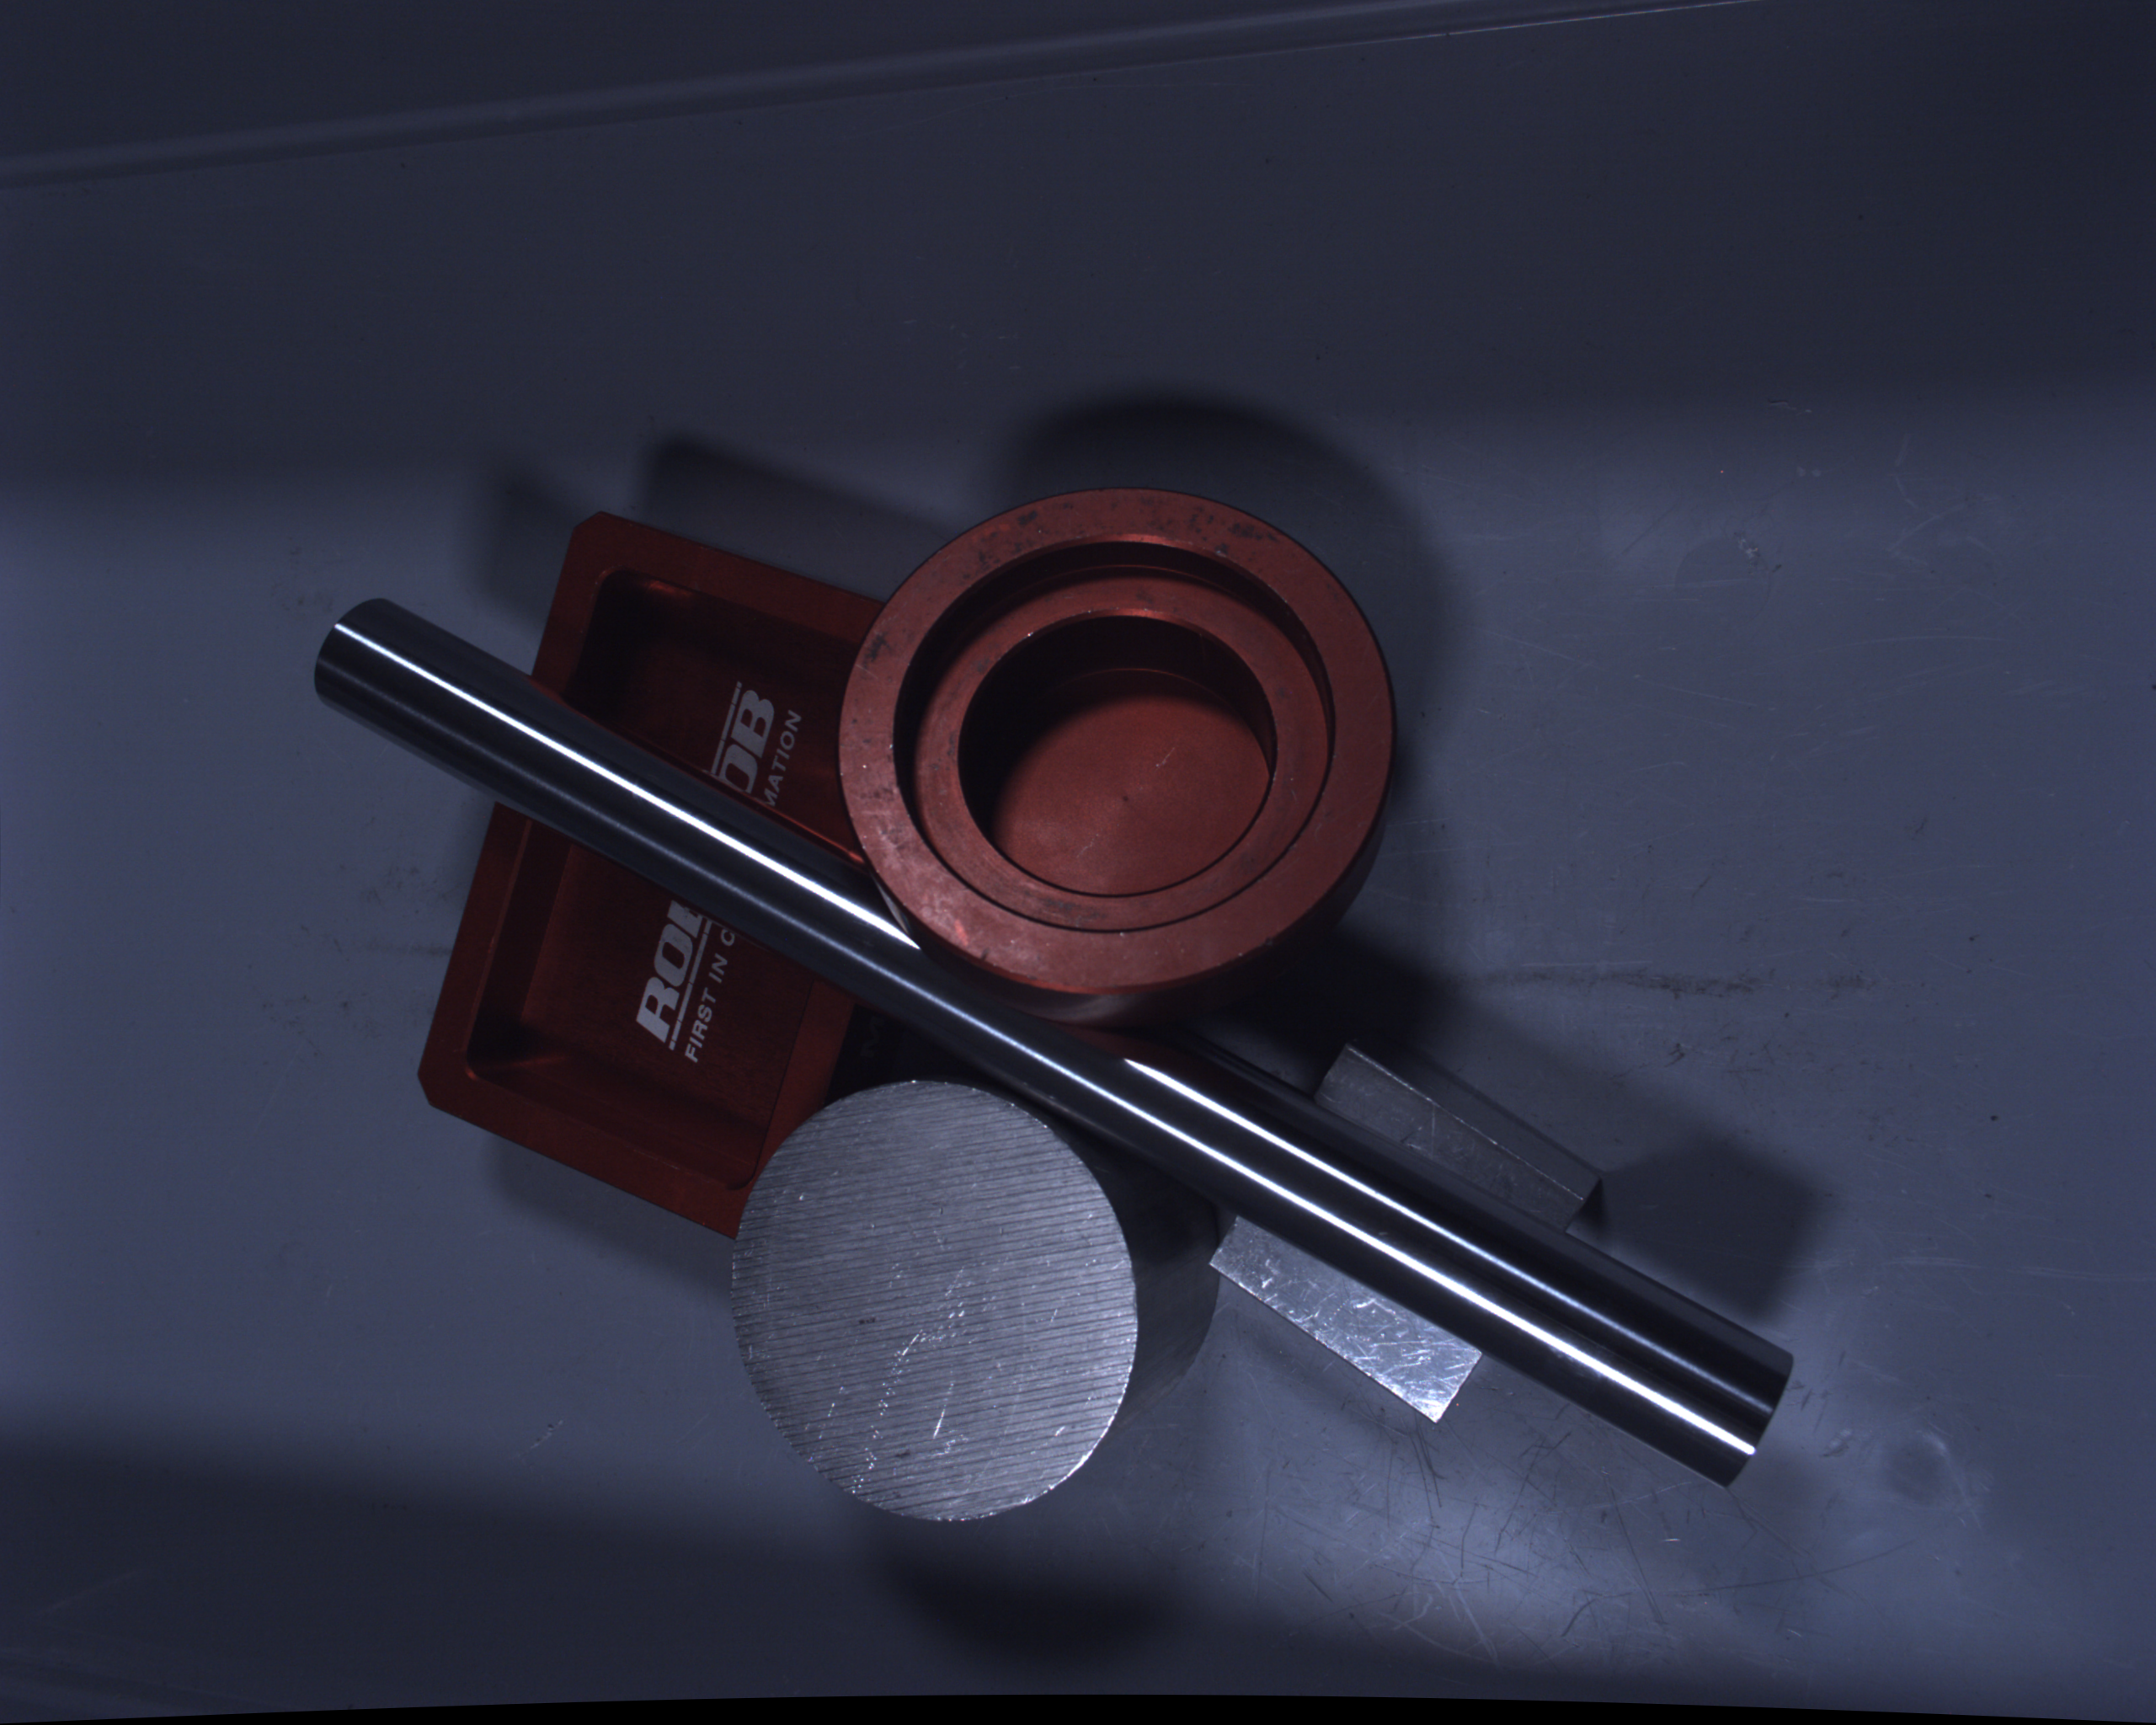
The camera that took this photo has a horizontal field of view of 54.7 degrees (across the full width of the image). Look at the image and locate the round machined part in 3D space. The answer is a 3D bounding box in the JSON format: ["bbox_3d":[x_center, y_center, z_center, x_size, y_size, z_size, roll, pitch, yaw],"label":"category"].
[{"bbox_3d":[0.008,-0.016,0.383,0.099,0.042,0.098,-2,68,5],"label":"round machined part"}]

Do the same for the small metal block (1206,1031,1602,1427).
[{"bbox_3d":[0.060,0.066,0.387,0.050,0.025,0.050,33,100,16],"label":"small metal block"}]

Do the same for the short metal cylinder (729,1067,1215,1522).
[{"bbox_3d":[-0.019,0.079,0.401,0.080,0.050,0.079,0,90,19],"label":"short metal cylinder"}]

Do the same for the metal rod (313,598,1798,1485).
[{"bbox_3d":[-0.016,0.025,0.383,0.301,0.025,0.025,27,99,15],"label":"metal rod"}]

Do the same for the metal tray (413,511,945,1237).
[{"bbox_3d":[-0.076,0.002,0.431,0.090,0.030,0.129,20,96,18],"label":"metal tray"}]
